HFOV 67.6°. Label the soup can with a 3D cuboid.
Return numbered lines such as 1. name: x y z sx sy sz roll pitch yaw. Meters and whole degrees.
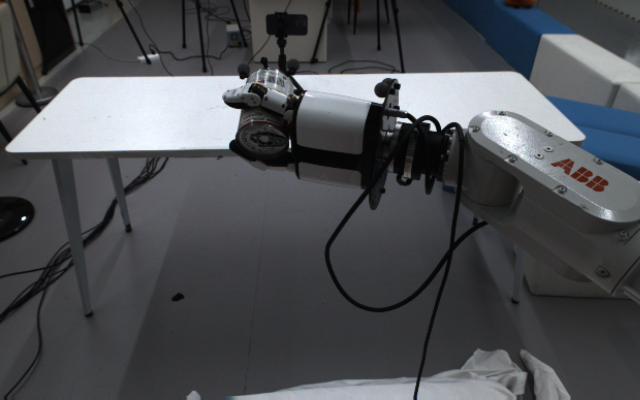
1. soup can: -0.070 -0.114 0.630 0.067 0.067 0.101 3 57 1
